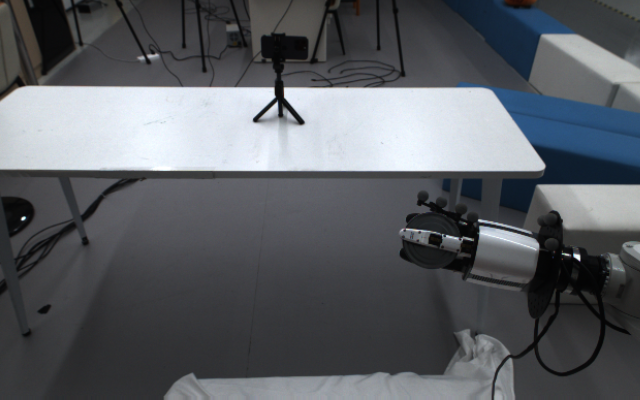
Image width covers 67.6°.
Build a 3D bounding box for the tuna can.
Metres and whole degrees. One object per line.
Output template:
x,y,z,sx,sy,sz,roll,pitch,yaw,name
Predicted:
0.171,0.062,0.734,0.085,0.085,0.034,14,-7,16,tuna can
